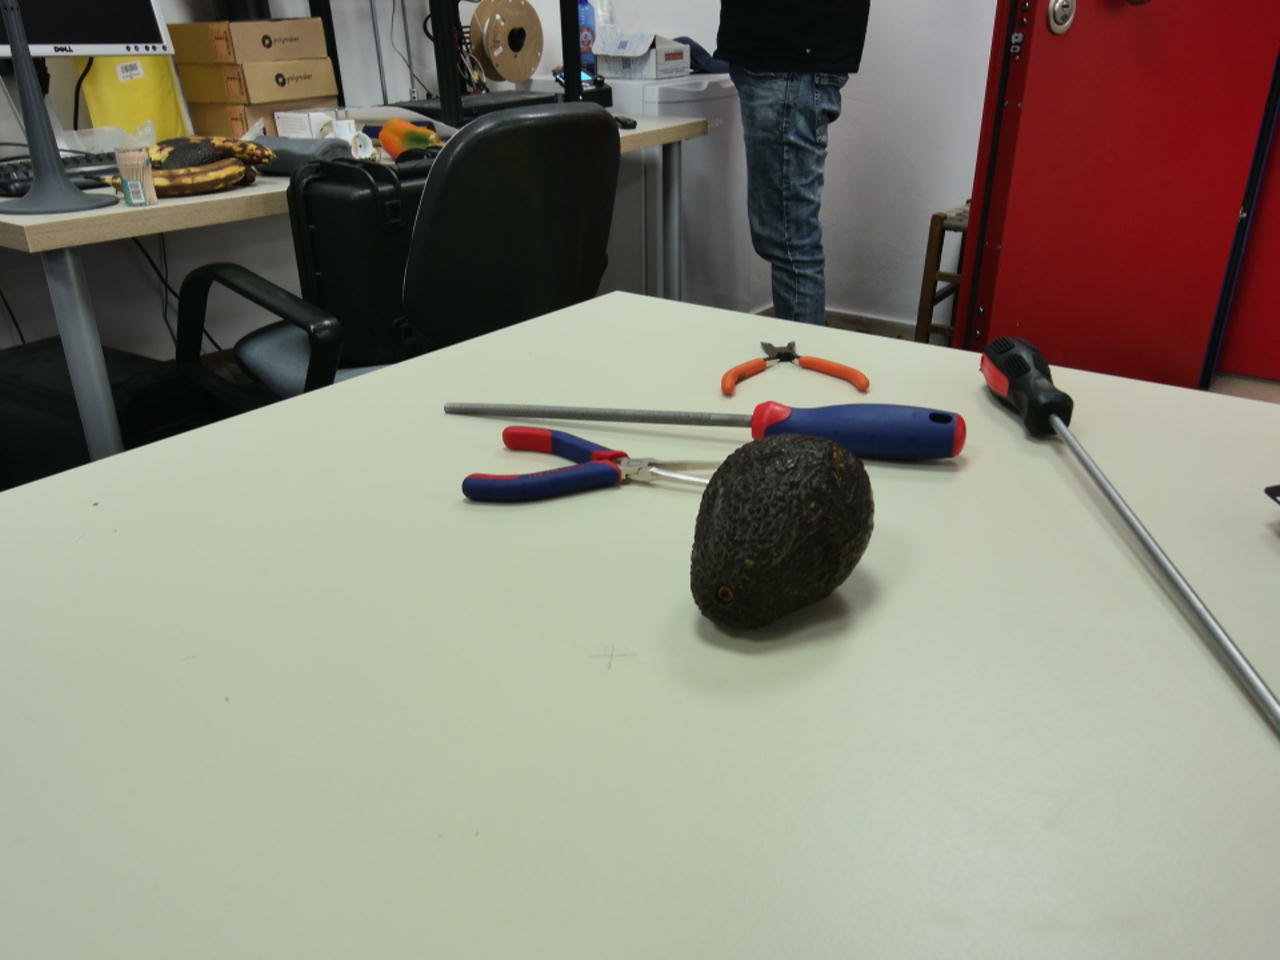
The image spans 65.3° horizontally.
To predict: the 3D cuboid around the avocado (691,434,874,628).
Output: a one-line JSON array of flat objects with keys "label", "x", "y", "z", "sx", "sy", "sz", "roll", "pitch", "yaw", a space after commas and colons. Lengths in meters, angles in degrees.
[{"label": "avocado", "x": 0.056, "y": 0.017, "z": 0.416, "sx": 0.090, "sy": 0.069, "sz": 0.070, "roll": -10, "pitch": 25, "yaw": -24}]
